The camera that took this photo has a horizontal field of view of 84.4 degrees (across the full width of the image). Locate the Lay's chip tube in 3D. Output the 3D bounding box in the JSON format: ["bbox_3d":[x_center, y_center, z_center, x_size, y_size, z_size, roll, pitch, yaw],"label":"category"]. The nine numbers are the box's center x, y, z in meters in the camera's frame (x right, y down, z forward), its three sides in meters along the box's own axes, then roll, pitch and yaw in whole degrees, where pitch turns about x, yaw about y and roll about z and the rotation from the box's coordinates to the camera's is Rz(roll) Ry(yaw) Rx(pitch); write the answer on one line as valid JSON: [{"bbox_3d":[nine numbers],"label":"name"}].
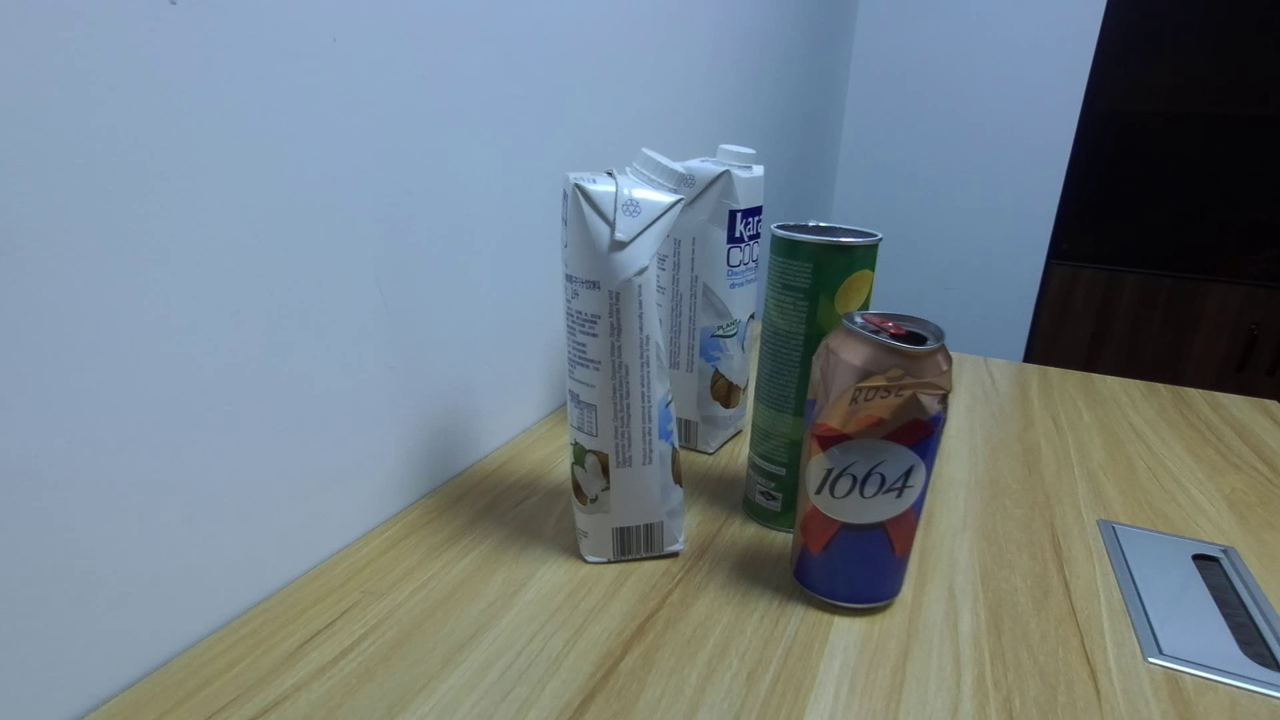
[{"bbox_3d":[0.113,0.012,0.479,0.071,0.202,0.071,3,18,-1],"label":"Lay's chip tube"}]

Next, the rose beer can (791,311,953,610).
[{"bbox_3d":[0.129,0.059,0.401,0.076,0.167,0.065,6,22,0],"label":"rose beer can"}]

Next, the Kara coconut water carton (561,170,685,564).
[{"bbox_3d":[-0.008,-0.002,0.433,0.071,0.244,0.099,-3,22,-8],"label":"Kara coconut water carton"}]

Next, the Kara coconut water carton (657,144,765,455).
[{"bbox_3d":[0.056,-0.050,0.585,0.075,0.245,0.077,14,21,34],"label":"Kara coconut water carton"}]
